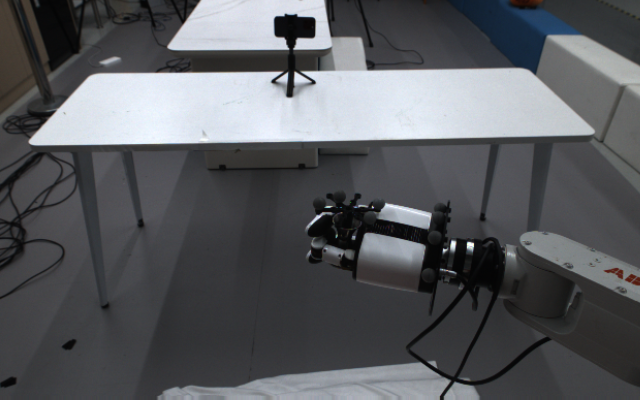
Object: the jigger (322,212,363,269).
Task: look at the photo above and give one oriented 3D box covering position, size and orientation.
[{"bbox_3d":[0.038,0.055,0.678,0.043,0.071,0.043,4,31,-2],"label":"jigger"}]
